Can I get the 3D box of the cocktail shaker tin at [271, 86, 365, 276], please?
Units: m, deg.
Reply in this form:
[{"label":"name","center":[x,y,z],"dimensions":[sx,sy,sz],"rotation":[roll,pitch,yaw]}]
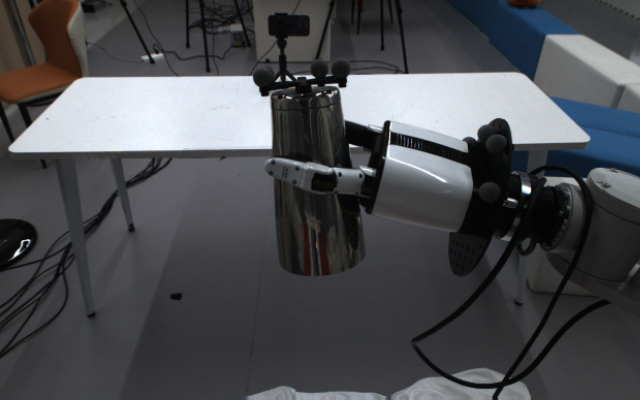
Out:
[{"label":"cocktail shaker tin","center":[-0.005,-0.020,0.481],"dimensions":[0.093,0.170,0.093],"rotation":[-6,19,2]}]
